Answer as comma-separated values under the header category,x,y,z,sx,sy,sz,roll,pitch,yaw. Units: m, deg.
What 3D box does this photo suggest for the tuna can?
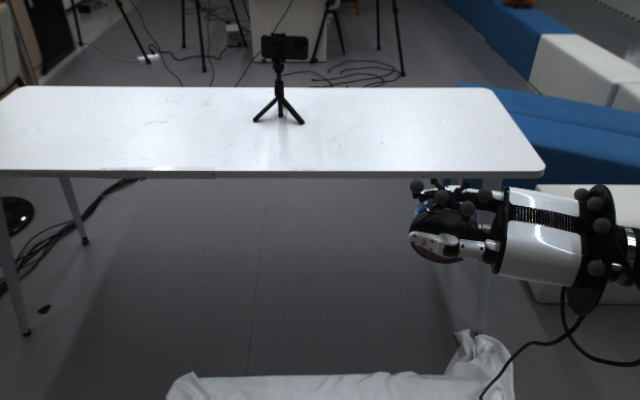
category,x,y,z,sx,sy,sz,roll,pitch,yaw
tuna can,0.160,0.034,0.616,0.085,0.085,0.034,10,34,11
